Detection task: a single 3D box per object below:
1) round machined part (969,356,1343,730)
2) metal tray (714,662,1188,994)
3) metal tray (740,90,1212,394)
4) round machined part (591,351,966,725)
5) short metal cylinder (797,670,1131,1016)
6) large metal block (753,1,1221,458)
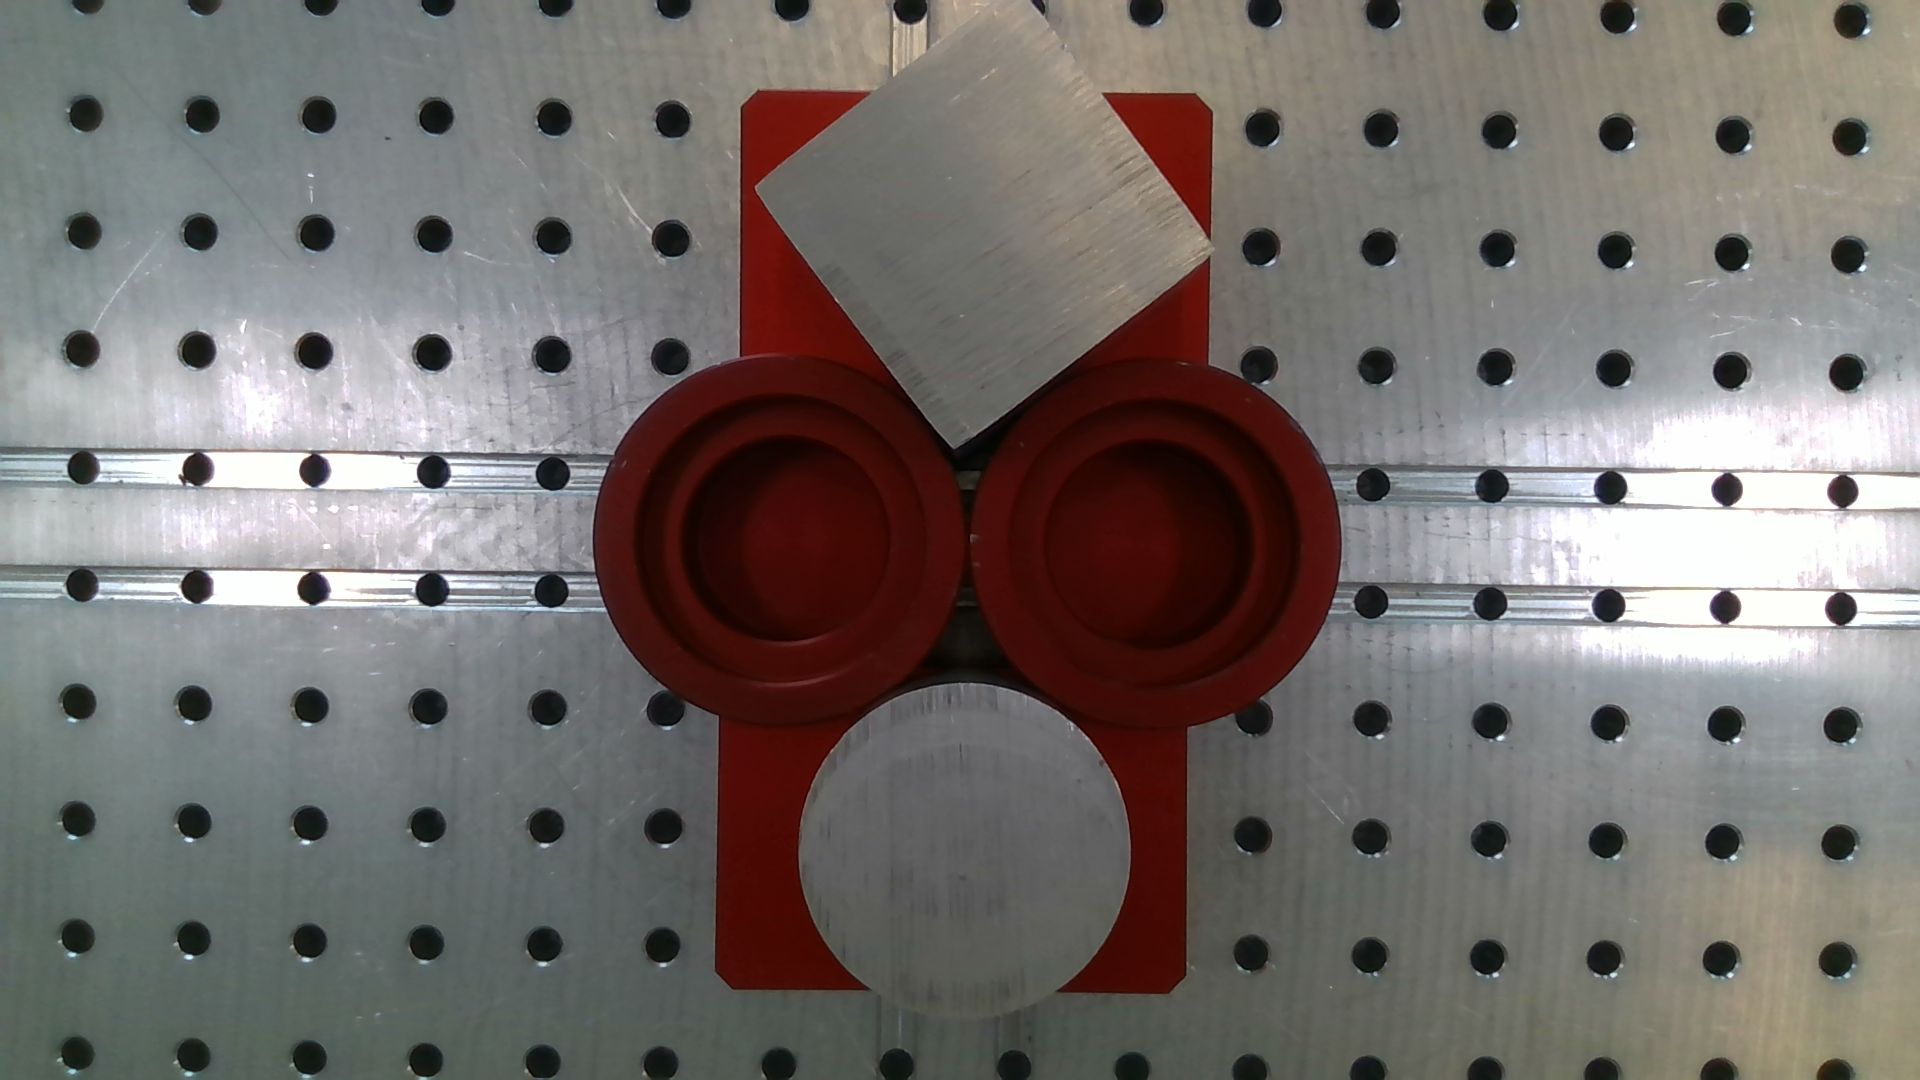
[{"bbox_3d":[0.051,0.001,0.380,0.098,0.042,0.098,0,90,0],"label":"round machined part"},{"bbox_3d":[-0.002,0.080,0.394,0.130,0.030,0.090,1,90,0],"label":"metal tray"},{"bbox_3d":[0.004,-0.079,0.395,0.130,0.030,0.090,0,91,0],"label":"metal tray"},{"bbox_3d":[-0.047,0.000,0.380,0.098,0.042,0.098,0,90,0],"label":"round machined part"},{"bbox_3d":[0.001,0.074,0.355,0.080,0.050,0.080,0,90,0],"label":"short metal cylinder"},{"bbox_3d":[0.007,-0.077,0.355,0.080,0.050,0.080,-37,90,0],"label":"large metal block"}]
